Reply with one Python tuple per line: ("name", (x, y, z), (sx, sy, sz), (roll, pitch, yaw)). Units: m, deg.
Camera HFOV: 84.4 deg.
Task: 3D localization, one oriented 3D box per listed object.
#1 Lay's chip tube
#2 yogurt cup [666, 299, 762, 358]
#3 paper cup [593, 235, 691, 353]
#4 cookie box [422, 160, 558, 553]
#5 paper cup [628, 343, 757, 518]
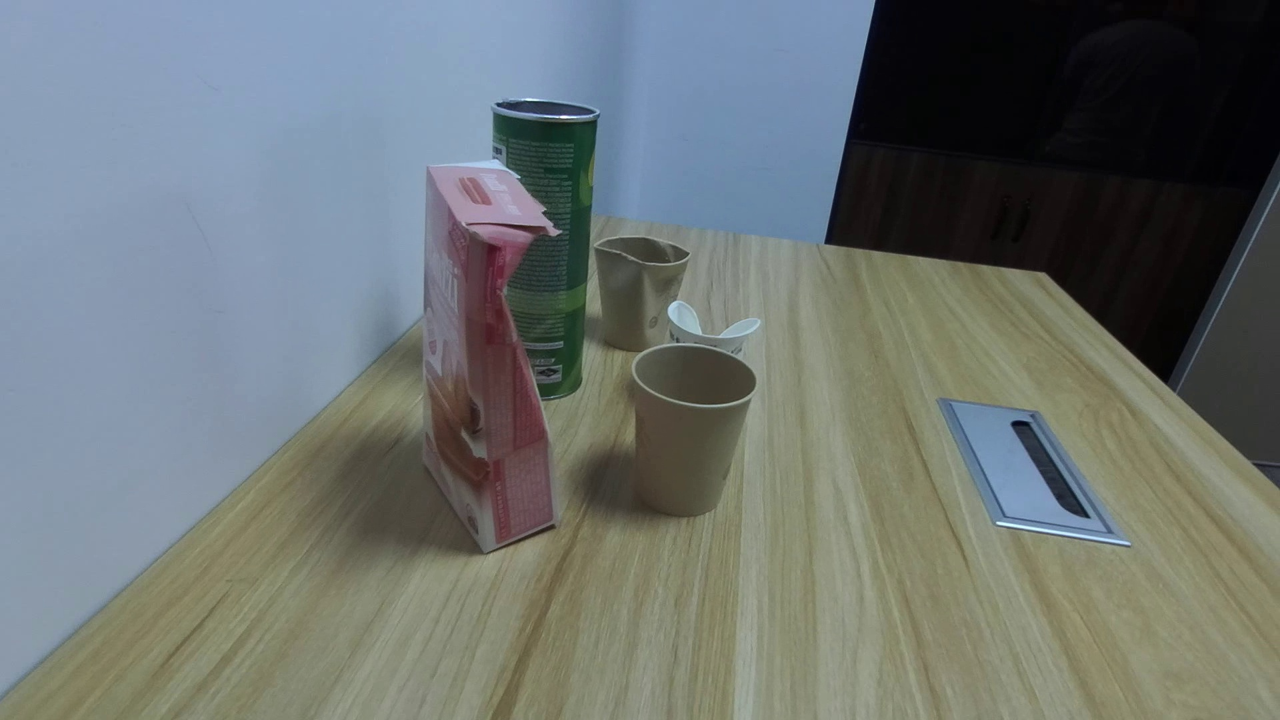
("Lay's chip tube", (-0.070, -0.074, 0.502), (0.071, 0.202, 0.071), (5, 26, -2))
("yogurt cup", (0.048, -0.001, 0.518), (0.067, 0.070, 0.067), (7, 29, -4))
("paper cup", (0.000, -0.057, 0.609), (0.071, 0.084, 0.066), (27, 33, 36))
("cookie box", (-0.080, 0.000, 0.376), (0.056, 0.184, 0.118), (-9, 30, -27))
("paper cup", (0.027, 0.043, 0.417), (0.075, 0.082, 0.075), (5, 27, -2))
